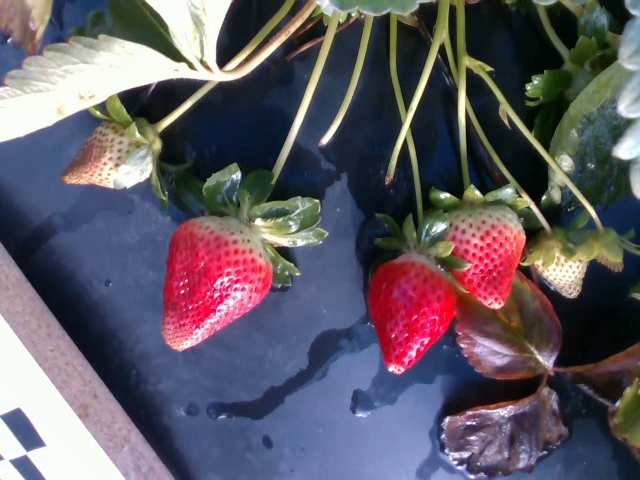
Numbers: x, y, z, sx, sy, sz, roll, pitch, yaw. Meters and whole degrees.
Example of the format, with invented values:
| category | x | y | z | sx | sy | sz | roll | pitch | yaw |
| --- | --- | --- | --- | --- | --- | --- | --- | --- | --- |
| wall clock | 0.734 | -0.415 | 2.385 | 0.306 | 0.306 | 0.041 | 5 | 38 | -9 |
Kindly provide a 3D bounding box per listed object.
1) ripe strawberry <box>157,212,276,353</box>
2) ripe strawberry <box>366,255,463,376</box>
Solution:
| category | x | y | z | sx | sy | sz | roll | pitch | yaw |
| --- | --- | --- | --- | --- | --- | --- | --- | --- | --- |
| ripe strawberry | -0.049 | 0.019 | 0.251 | 0.050 | 0.065 | 0.050 | 28 | -19 | 18 |
| ripe strawberry | 0.035 | 0.034 | 0.260 | 0.044 | 0.055 | 0.042 | 6 | -23 | 29 |
